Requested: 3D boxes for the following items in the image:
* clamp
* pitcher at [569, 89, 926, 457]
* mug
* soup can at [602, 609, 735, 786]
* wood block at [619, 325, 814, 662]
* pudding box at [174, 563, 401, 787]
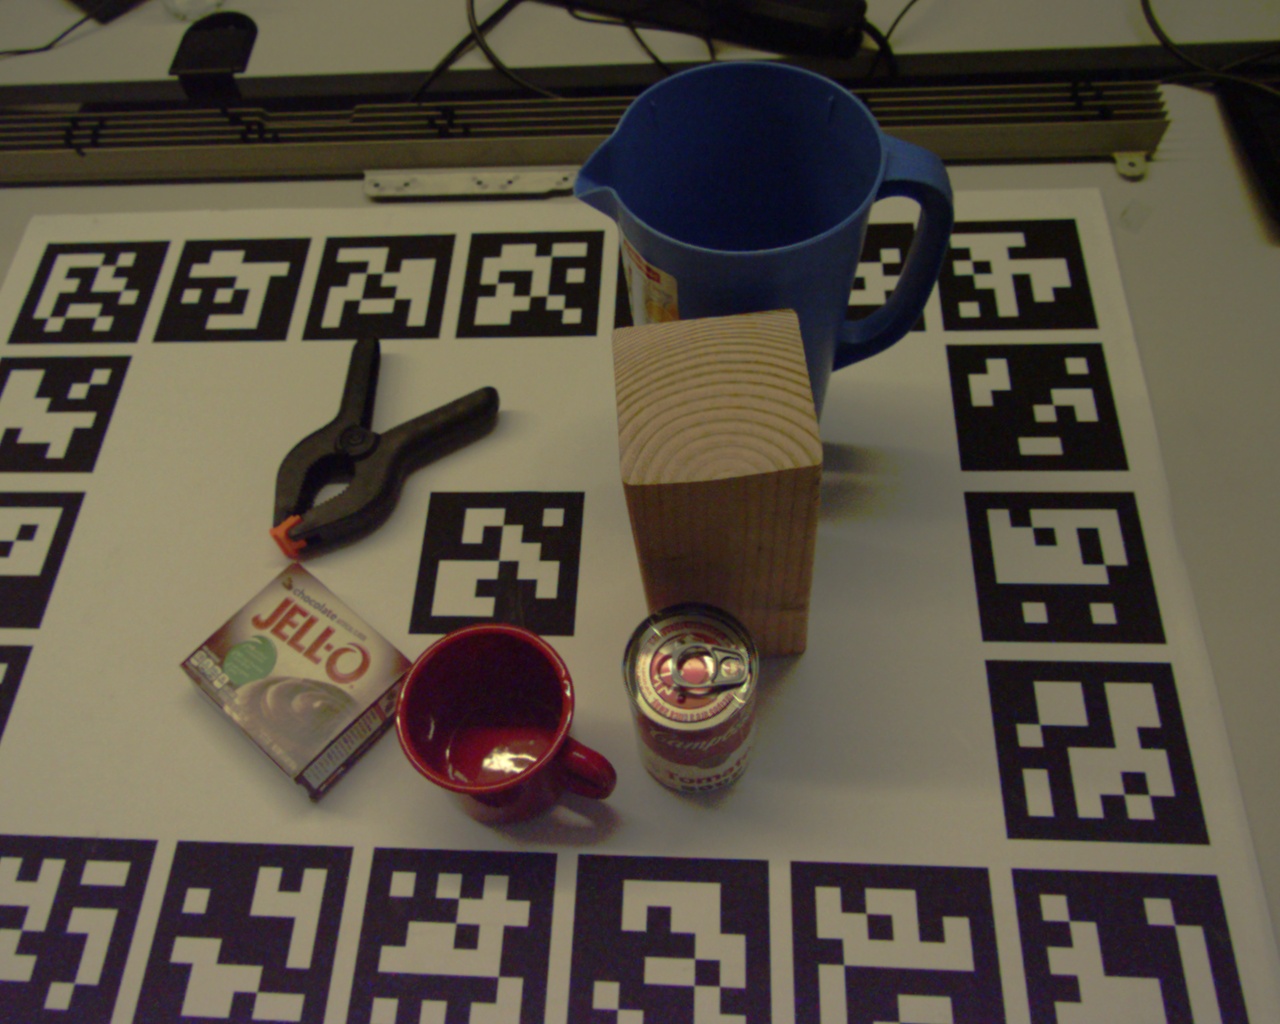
[{"bbox_3d":[-0.182,-0.037,0.781,0.122,0.036,0.164,29,66,14],"label":"clamp"},{"bbox_3d":[0.065,-0.111,0.671,0.189,0.241,0.133,-2,56,8],"label":"pitcher"},{"bbox_3d":[-0.075,0.127,0.634,0.118,0.081,0.093,33,65,24],"label":"mug"},{"bbox_3d":[0.018,0.104,0.624,0.068,0.101,0.068,-3,61,4],"label":"soup can"},{"bbox_3d":[0.036,0.001,0.624,0.090,0.205,0.091,-1,58,1],"label":"wood block"},{"bbox_3d":[-0.212,0.098,0.695,0.115,0.038,0.089,34,71,24],"label":"pudding box"}]
